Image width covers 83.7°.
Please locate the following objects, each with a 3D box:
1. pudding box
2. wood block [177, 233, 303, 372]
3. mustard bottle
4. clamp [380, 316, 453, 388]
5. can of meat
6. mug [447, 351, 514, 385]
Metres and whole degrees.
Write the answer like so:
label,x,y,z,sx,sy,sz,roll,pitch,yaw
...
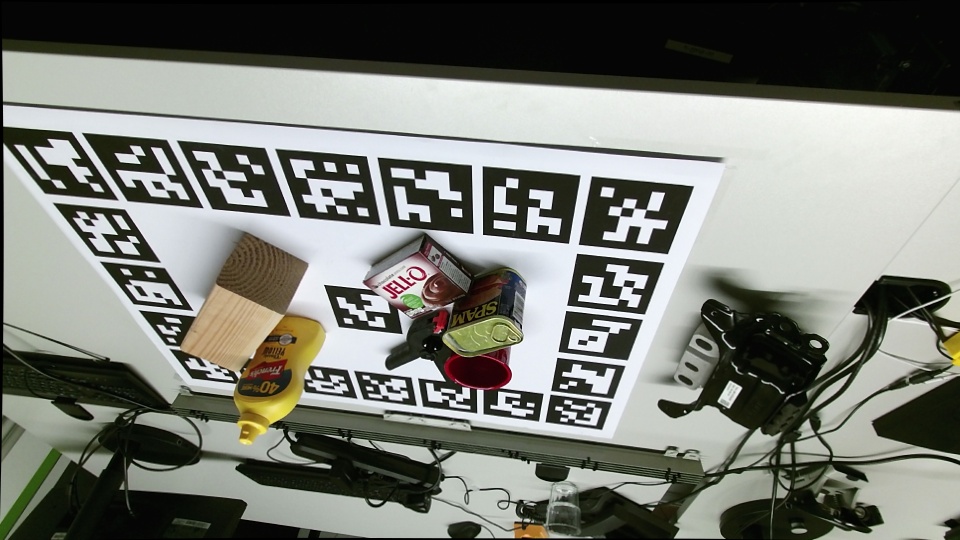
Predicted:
label,x,y,z,sx,sy,sz,roll,pitch,yaw
pudding box,-0.086,0.015,0.688,0.114,0.038,0.090,-26,125,34
wood block,-0.338,0.053,0.746,0.090,0.090,0.206,31,135,-22
mustard bottle,-0.304,0.168,0.778,0.096,0.190,0.058,1,135,9
clamp,-0.080,0.129,0.813,0.122,0.036,0.165,20,134,-7
can of meat,0.008,0.058,0.675,0.102,0.083,0.058,-18,128,27
mug,0.001,0.112,0.773,0.093,0.081,0.117,21,134,-10
